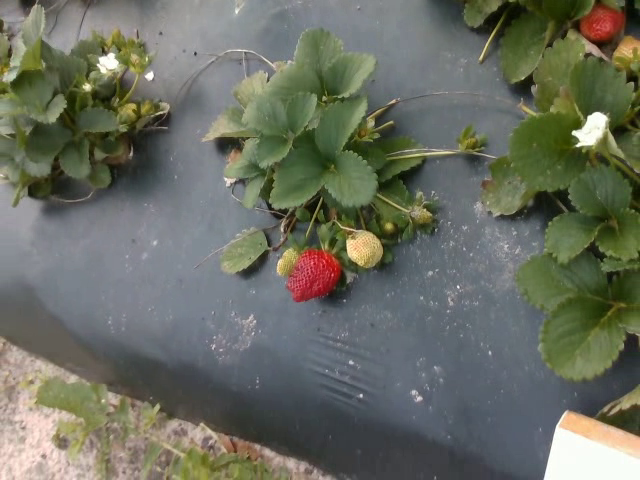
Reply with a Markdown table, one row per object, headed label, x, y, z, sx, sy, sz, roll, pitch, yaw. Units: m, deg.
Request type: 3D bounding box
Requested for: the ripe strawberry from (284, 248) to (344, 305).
| label | x | y | z | sx | sy | sz | roll | pitch | yaw |
| --- | --- | --- | --- | --- | --- | --- | --- | --- | --- |
| ripe strawberry | -0.007 | 0.036 | 0.519 | 0.046 | 0.045 | 0.059 | 13 | 50 | 37 |
